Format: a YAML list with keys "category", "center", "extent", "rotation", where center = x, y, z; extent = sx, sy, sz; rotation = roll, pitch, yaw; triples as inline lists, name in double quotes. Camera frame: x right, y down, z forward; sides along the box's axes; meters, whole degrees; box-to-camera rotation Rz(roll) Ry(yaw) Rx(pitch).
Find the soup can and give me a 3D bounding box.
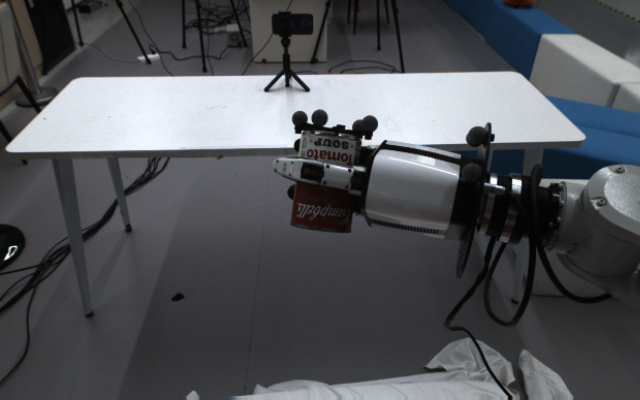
- category: "soup can"
  center: [0.009, -0.018, 0.524]
  extent: [0.067, 0.101, 0.067]
  rotation: [7, 3, 0]
